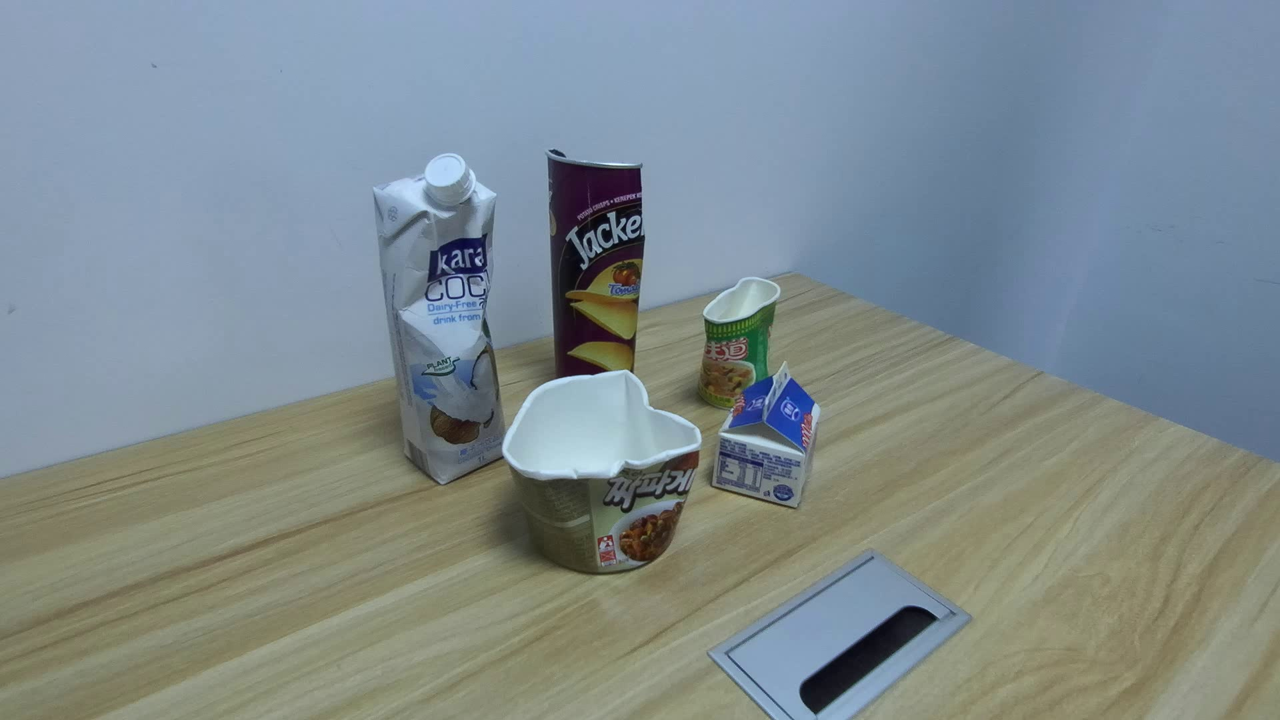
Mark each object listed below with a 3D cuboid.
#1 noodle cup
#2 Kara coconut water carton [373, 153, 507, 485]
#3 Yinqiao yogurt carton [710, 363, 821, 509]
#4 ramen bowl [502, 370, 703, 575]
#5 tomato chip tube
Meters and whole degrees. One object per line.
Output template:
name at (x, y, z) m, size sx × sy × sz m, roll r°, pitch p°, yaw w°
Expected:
noodle cup at (0.093, -0.014, 0.683) m, size 0.115 × 0.111 × 0.070 m, roll -20°, pitch 36°, yaw -36°
Kara coconut water carton at (-0.152, -0.031, 0.548) m, size 0.083 × 0.255 × 0.078 m, roll -14°, pitch 33°, yaw -30°
Yinqiao yogurt carton at (0.105, 0.056, 0.571) m, size 0.073 × 0.092 × 0.076 m, roll 11°, pitch 28°, yaw 19°
ramen bowl at (-0.034, 0.082, 0.506) m, size 0.134 × 0.097 × 0.113 m, roll -14°, pitch 33°, yaw -32°
tomato chip tube at (-0.040, -0.067, 0.648) m, size 0.076 × 0.235 × 0.077 m, roll -5°, pitch 26°, yaw -13°
